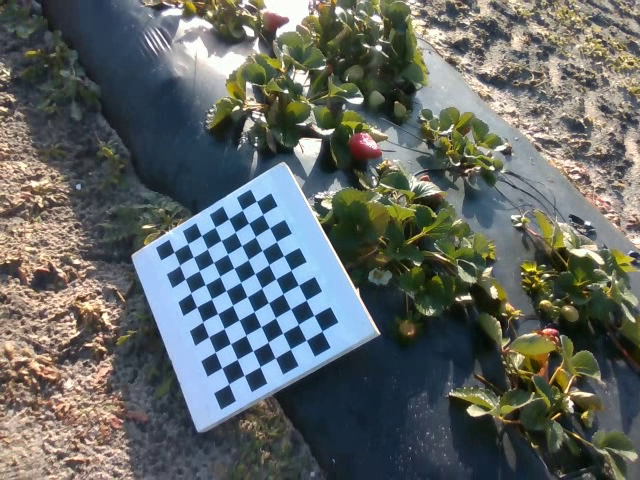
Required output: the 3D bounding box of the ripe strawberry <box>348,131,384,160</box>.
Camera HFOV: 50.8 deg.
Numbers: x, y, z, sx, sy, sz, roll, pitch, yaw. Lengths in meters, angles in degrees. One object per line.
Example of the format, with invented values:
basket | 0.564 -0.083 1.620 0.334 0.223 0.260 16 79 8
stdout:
ripe strawberry | 0.079 -0.156 1.092 0.072 0.056 0.055 33 -6 34
